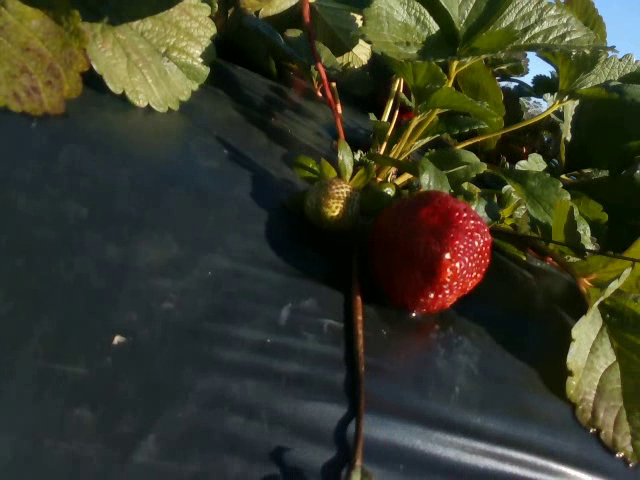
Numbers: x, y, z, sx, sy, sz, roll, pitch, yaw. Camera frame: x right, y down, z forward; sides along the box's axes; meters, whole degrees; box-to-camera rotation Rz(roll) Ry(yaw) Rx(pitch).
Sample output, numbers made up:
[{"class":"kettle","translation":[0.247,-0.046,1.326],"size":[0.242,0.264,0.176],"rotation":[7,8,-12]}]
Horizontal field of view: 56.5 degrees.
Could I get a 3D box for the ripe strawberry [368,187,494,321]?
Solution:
[{"class":"ripe strawberry","translation":[0.032,0.005,0.172],"size":[0.041,0.043,0.053],"rotation":[33,7,-9]}]
